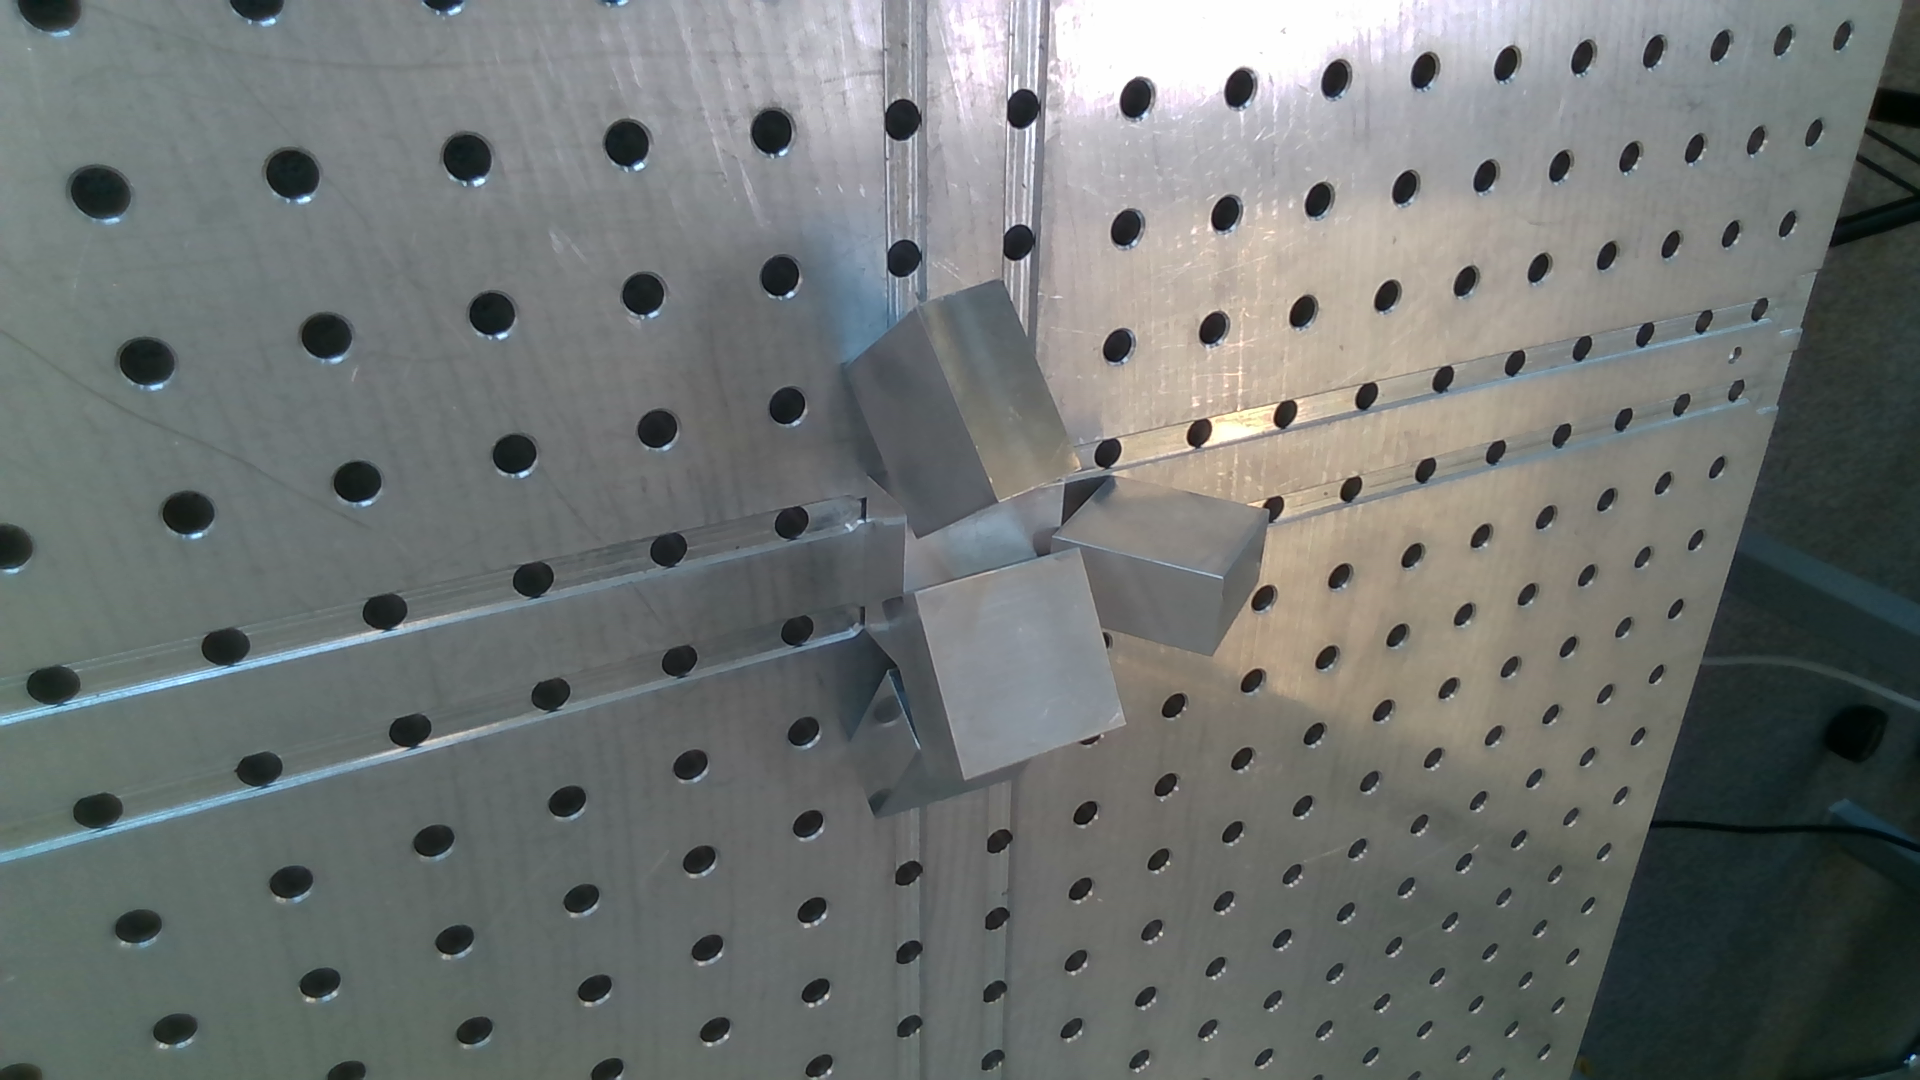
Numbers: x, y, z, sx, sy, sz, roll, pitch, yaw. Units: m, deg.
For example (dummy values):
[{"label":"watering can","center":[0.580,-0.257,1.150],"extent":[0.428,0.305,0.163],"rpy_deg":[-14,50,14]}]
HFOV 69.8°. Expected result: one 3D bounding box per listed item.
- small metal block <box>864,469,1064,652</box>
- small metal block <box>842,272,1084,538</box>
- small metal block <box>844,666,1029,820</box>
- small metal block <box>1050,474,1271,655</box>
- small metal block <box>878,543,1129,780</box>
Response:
[{"label":"small metal block","center":[0.001,0.004,0.395],"extent":[0.050,0.025,0.050],"rpy_deg":[-12,120,-26]},{"label":"small metal block","center":[-0.001,-0.032,0.345],"extent":[0.025,0.050,0.050],"rpy_deg":[-23,90,-27]},{"label":"small metal block","center":[-0.002,0.055,0.407],"extent":[0.050,0.025,0.050],"rpy_deg":[-12,151,-26]},{"label":"small metal block","center":[0.058,0.005,0.402],"extent":[0.050,0.050,0.025],"rpy_deg":[-42,140,-55]},{"label":"small metal block","center":[0.012,0.032,0.369],"extent":[0.050,0.025,0.050],"rpy_deg":[-15,89,-25]}]
